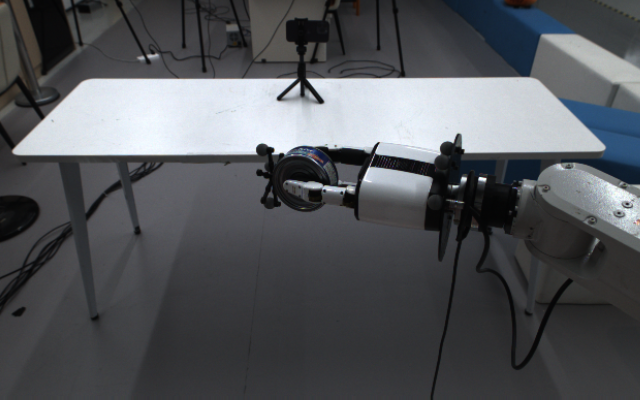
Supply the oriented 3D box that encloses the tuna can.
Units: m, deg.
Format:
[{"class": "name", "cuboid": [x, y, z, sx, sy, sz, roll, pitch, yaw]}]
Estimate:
[{"class": "tuna can", "cuboid": [-0.019, -0.030, 0.655, 0.085, 0.085, 0.034, 12, 28, 14]}]
